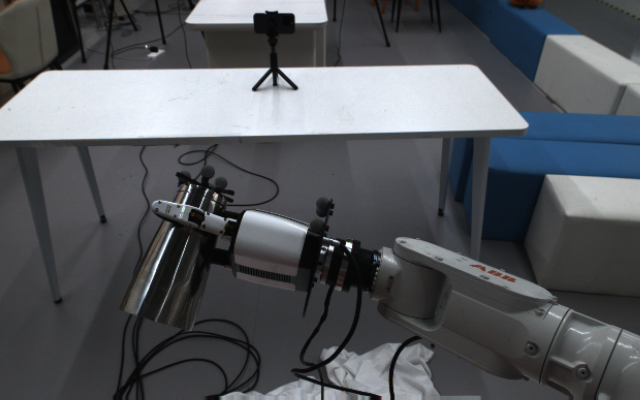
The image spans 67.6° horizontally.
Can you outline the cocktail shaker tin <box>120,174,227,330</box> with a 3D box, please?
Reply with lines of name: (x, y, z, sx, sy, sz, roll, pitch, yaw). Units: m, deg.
cocktail shaker tin: (-0.177, 0.067, 0.616, 0.093, 0.093, 0.170, 12, 72, 14)
